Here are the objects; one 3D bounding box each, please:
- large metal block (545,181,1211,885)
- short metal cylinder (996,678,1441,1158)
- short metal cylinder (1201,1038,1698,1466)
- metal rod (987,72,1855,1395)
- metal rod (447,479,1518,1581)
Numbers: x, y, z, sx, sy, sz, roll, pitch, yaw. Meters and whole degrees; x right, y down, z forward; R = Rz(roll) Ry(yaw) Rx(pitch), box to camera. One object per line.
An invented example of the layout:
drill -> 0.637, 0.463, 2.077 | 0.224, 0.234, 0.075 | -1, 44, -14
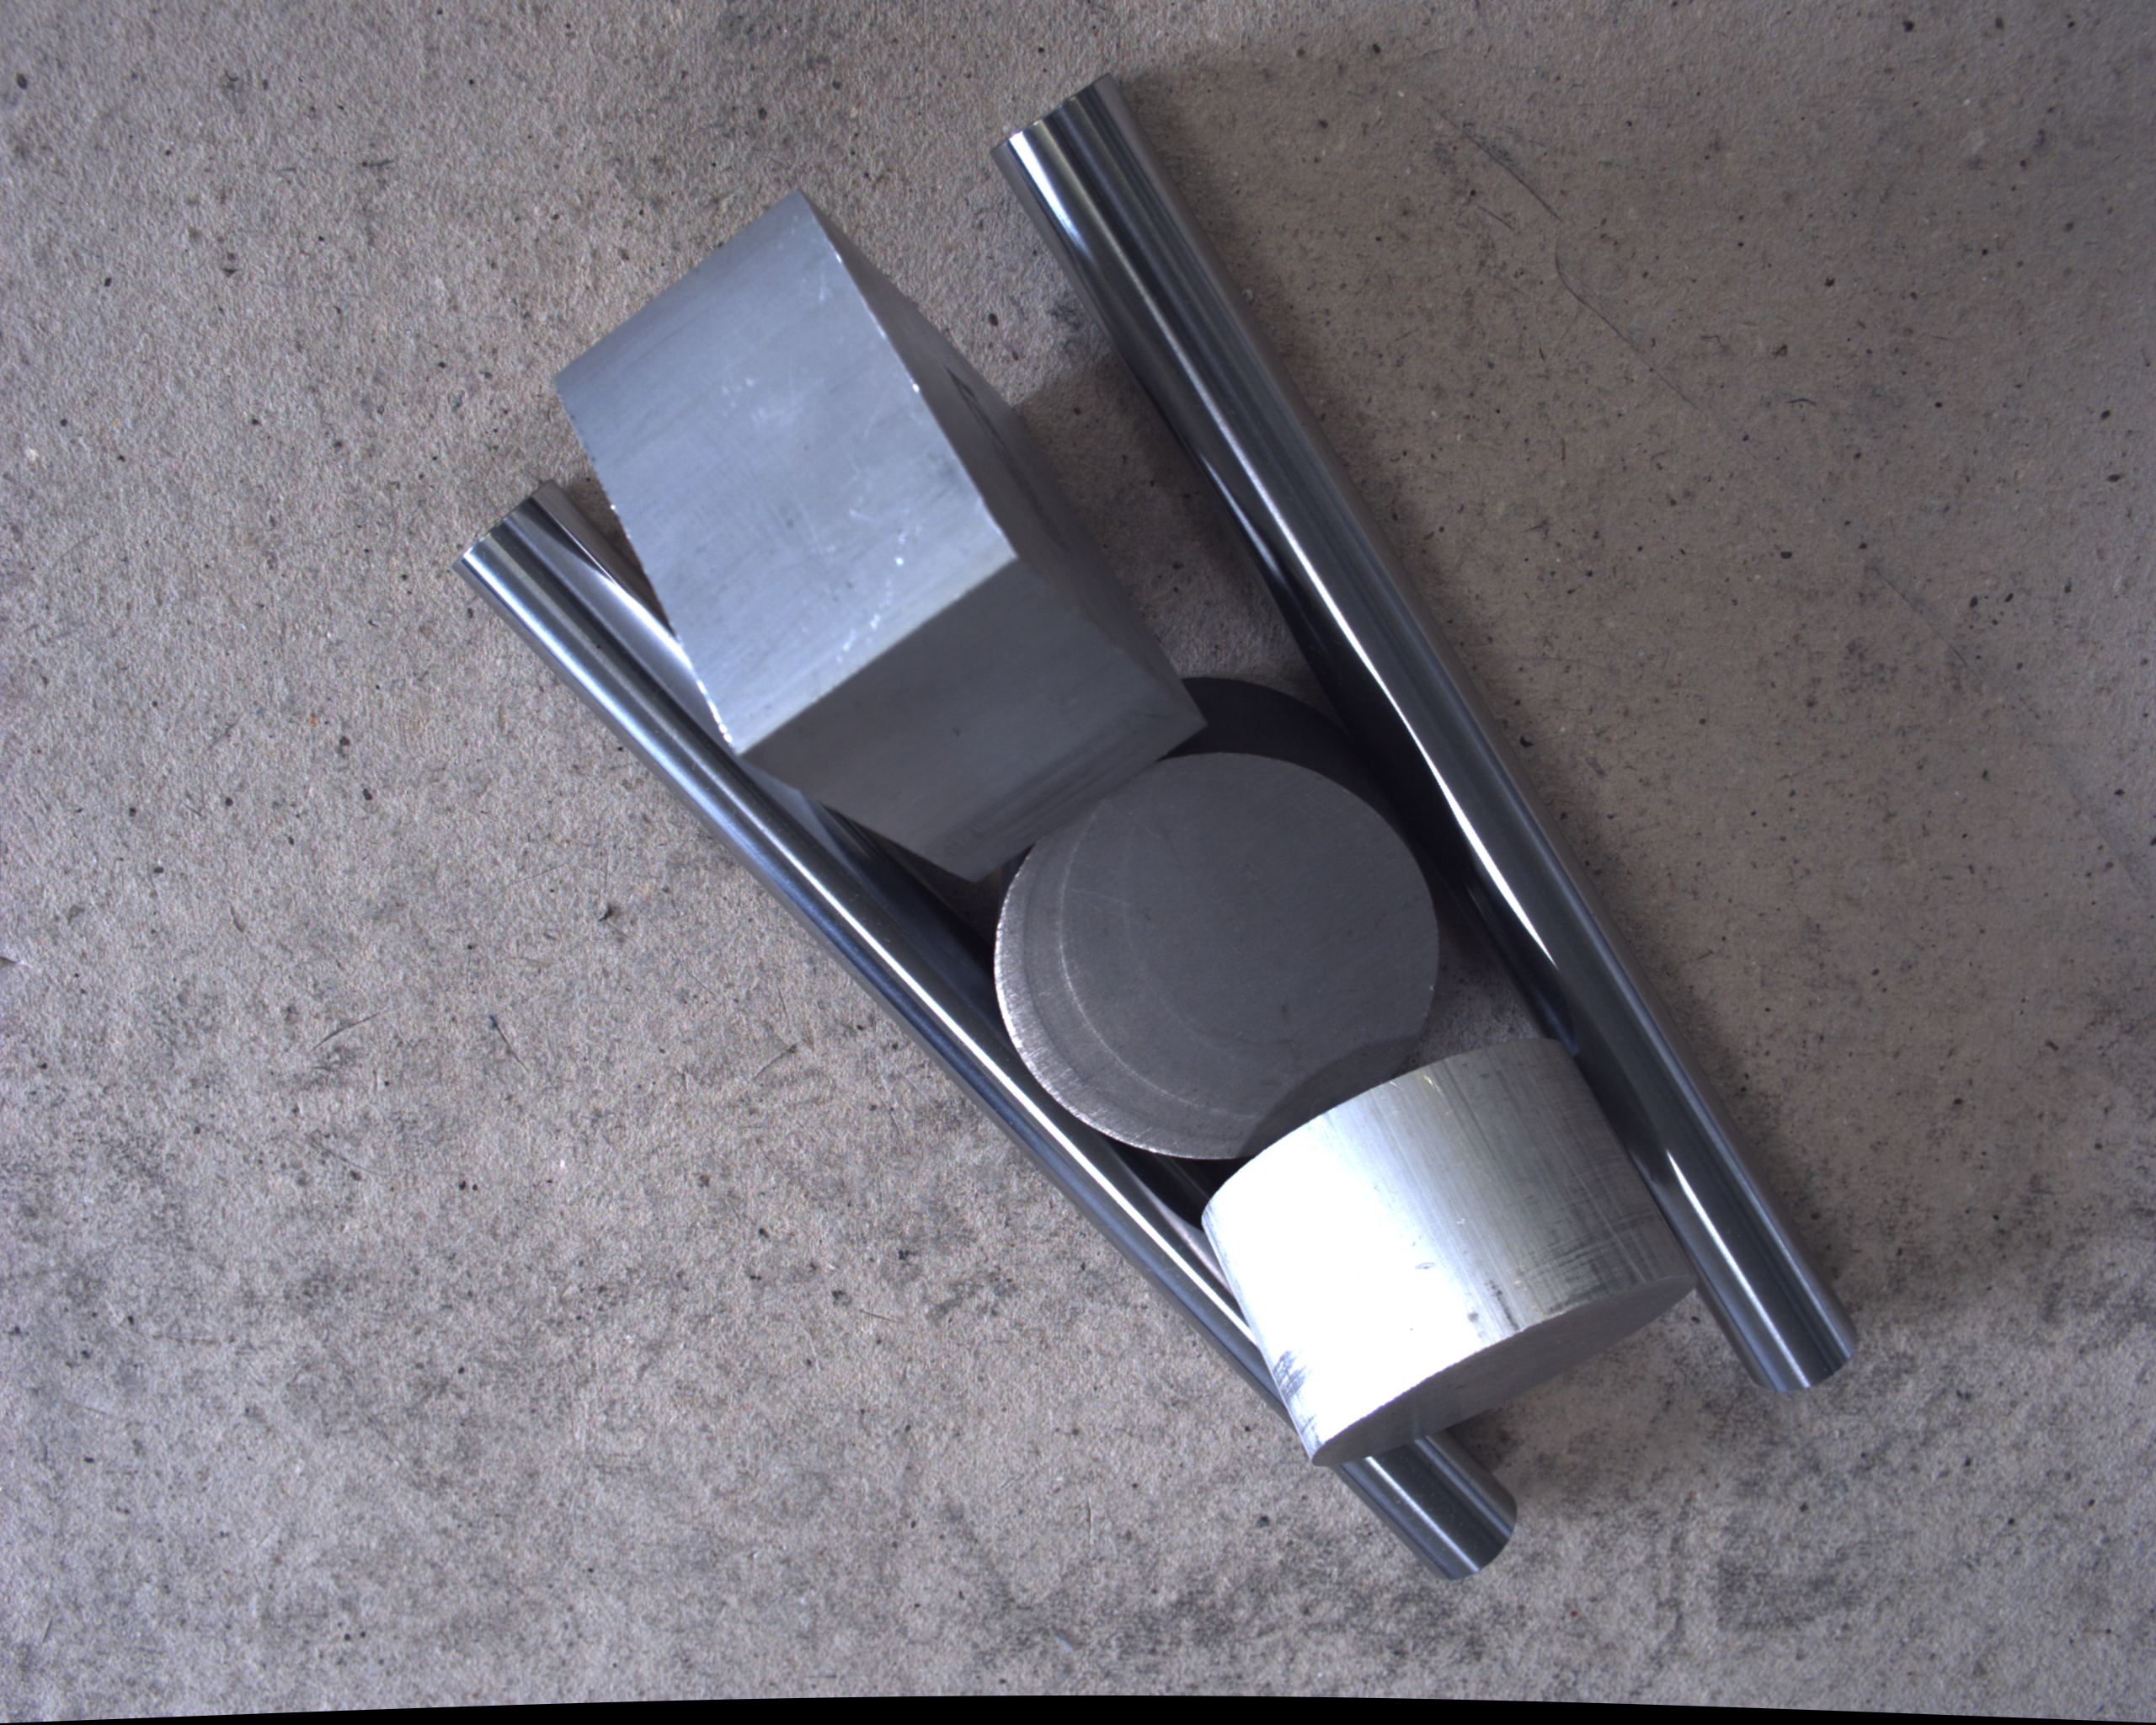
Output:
large metal block -> -0.031, -0.050, 0.346 | 0.050, 0.080, 0.080 | -35, 65, 12
short metal cylinder -> 0.025, 0.010, 0.401 | 0.081, 0.050, 0.079 | 0, 110, 0
short metal cylinder -> 0.071, 0.076, 0.404 | 0.080, 0.080, 0.050 | -30, 65, 10
metal rod -> 0.075, -0.012, 0.407 | 0.025, 0.025, 0.299 | -31, 108, 10
metal rod -> -0.010, 0.044, 0.426 | 0.025, 0.025, 0.300 | -39, 106, 13
